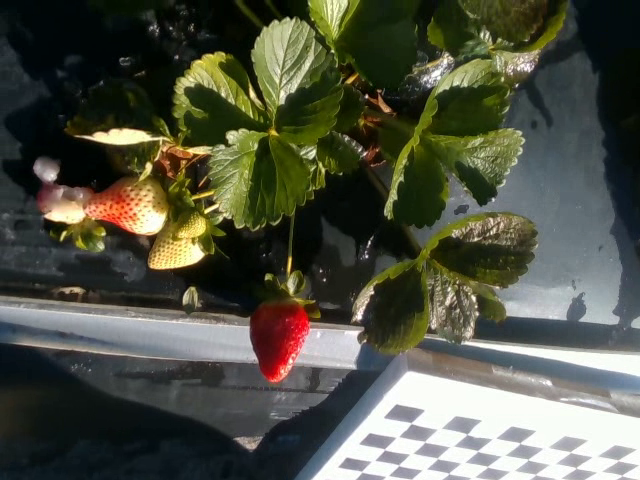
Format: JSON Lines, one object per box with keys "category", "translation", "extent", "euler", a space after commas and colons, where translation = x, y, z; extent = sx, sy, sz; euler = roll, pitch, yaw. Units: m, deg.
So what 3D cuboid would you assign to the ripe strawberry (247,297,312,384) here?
{"category": "ripe strawberry", "translation": [-0.023, 0.052, 0.312], "extent": [0.036, 0.046, 0.038], "euler": [15, -30, -10]}
